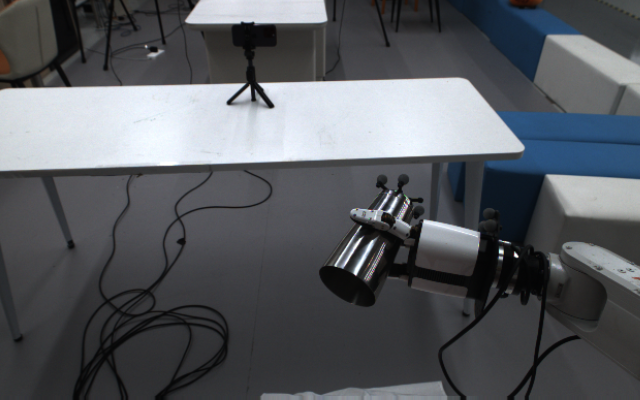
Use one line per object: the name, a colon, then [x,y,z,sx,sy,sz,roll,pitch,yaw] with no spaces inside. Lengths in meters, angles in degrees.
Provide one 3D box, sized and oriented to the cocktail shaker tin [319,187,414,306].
cocktail shaker tin: [0.082,0.060,0.729,0.093,0.093,0.170,19,55,22]
